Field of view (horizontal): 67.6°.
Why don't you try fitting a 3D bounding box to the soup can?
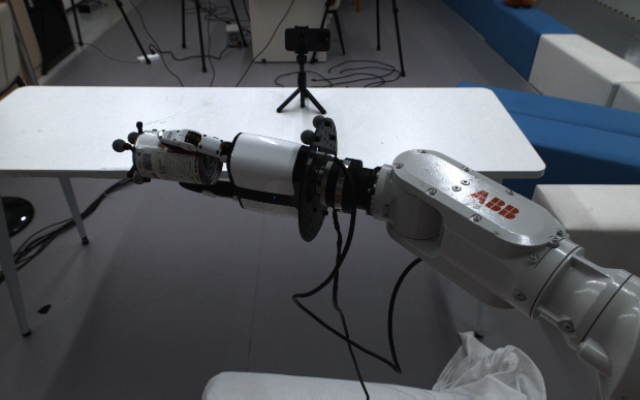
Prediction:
[{"bbox_3d":[-0.192,-0.057,0.663,0.101,0.067,0.067,7,35,10],"label":"soup can"}]
